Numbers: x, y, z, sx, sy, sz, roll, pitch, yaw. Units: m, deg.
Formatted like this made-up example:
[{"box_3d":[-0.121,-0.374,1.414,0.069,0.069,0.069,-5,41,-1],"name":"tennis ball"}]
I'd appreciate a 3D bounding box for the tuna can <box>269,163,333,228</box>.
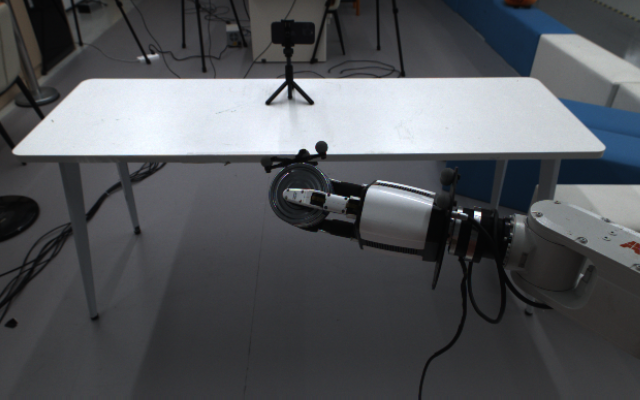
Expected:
[{"box_3d":[-0.021,-0.002,0.652,0.085,0.085,0.034,12,-6,14],"name":"tuna can"}]
